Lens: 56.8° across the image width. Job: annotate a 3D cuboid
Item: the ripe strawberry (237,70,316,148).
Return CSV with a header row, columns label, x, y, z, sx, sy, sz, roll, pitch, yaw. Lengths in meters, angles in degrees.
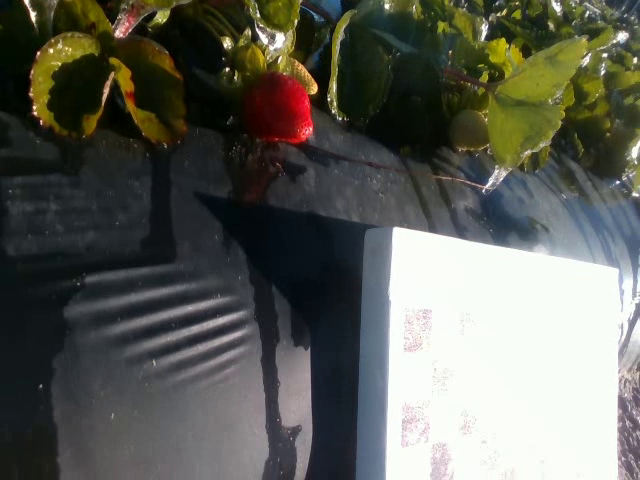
label,x,y,z,sx,sy,sz,roll,pitch,yaw
ripe strawberry,-0.012,-0.049,0.235,0.039,0.040,0.039,-4,26,-32
